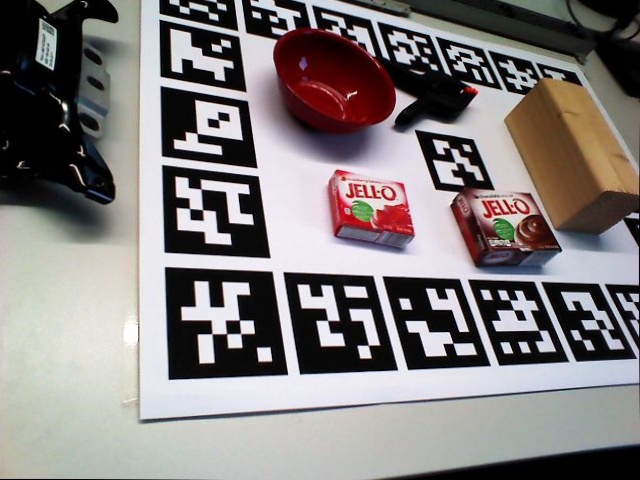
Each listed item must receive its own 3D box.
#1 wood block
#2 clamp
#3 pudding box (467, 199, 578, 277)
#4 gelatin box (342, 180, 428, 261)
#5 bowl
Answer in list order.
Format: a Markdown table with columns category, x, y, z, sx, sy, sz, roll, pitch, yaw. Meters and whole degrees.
| category | x | y | z | sx | sy | sz | roll | pitch | yaw |
| --- | --- | --- | --- | --- | --- | --- | --- | --- | --- |
| wood block | 0.380 | -0.105 | 0.724 | 0.089 | 0.091 | 0.205 | 6 | 58 | -23 |
| clamp | 0.159 | -0.193 | 0.722 | 0.164 | 0.037 | 0.121 | -6 | 62 | -30 |
| pudding box | 0.243 | -0.001 | 0.627 | 0.113 | 0.039 | 0.089 | 2 | 63 | -22 |
| gelatin box | 0.070 | -0.021 | 0.562 | 0.089 | 0.030 | 0.073 | 11 | 58 | -19 |
| bowl | 0.022 | -0.172 | 0.630 | 0.161 | 0.055 | 0.161 | 12 | 58 | -20 |
